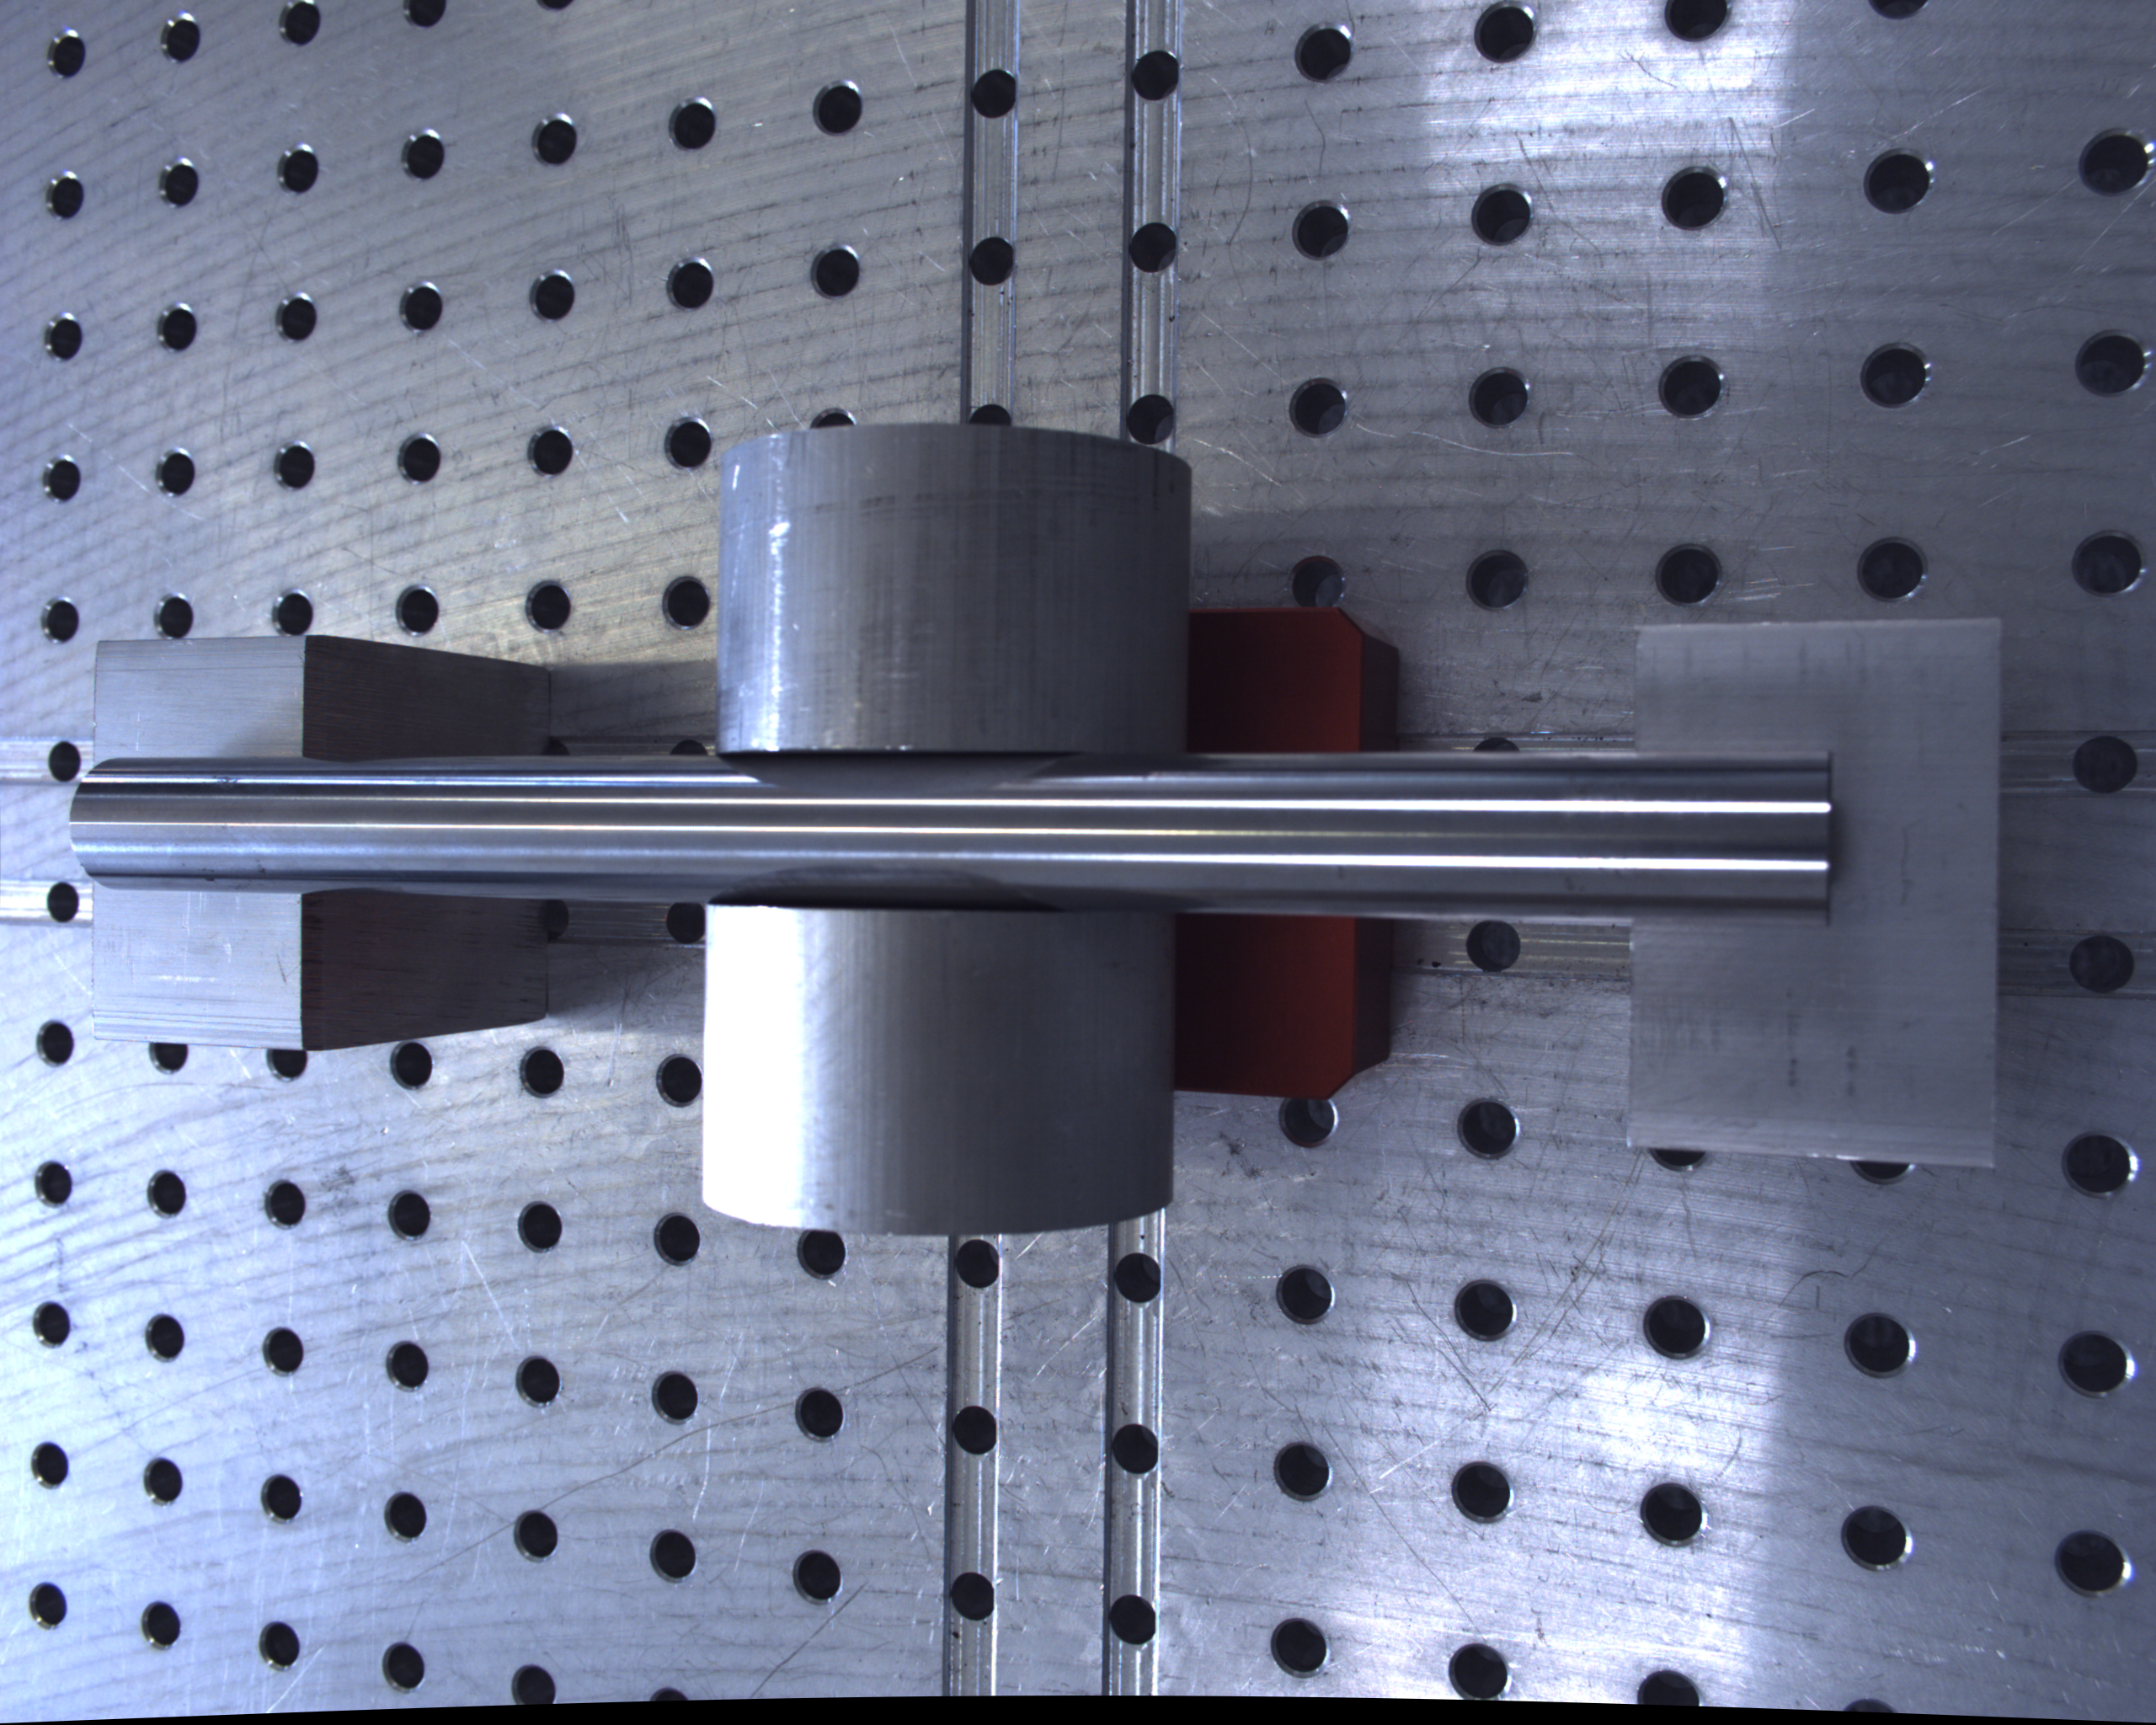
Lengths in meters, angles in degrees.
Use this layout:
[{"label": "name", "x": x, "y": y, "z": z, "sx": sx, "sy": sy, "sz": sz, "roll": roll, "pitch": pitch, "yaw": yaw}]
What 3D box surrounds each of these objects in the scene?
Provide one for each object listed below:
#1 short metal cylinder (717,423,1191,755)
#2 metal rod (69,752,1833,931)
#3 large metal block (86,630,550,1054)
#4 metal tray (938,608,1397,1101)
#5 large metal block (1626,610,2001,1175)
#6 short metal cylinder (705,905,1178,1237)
[{"label": "short metal cylinder", "x": -0.021, "y": -0.043, "z": 0.359, "sx": 0.080, "sy": 0.080, "sz": 0.050, "roll": 1, "pitch": 91, "yaw": 20}, {"label": "metal rod", "x": -0.037, "y": -0.005, "z": 0.340, "sx": 0.301, "sy": 0.025, "sz": 0.025, "roll": 1, "pitch": 90, "yaw": 19}, {"label": "large metal block", "x": -0.156, "y": -0.004, "z": 0.437, "sx": 0.050, "sy": 0.080, "sz": 0.080, "roll": 1, "pitch": 90, "yaw": 20}, {"label": "metal tray", "x": -0.005, "y": -0.003, "z": 0.412, "sx": 0.130, "sy": 0.030, "sz": 0.089, "roll": 2, "pitch": 91, "yaw": 19}, {"label": "large metal block", "x": 0.120, "y": 0.004, "z": 0.340, "sx": 0.050, "sy": 0.080, "sz": 0.080, "roll": 1, "pitch": 90, "yaw": 20}, {"label": "short metal cylinder", "x": -0.023, "y": 0.032, "z": 0.360, "sx": 0.080, "sy": 0.080, "sz": 0.050, "roll": 1, "pitch": 91, "yaw": 20}]
